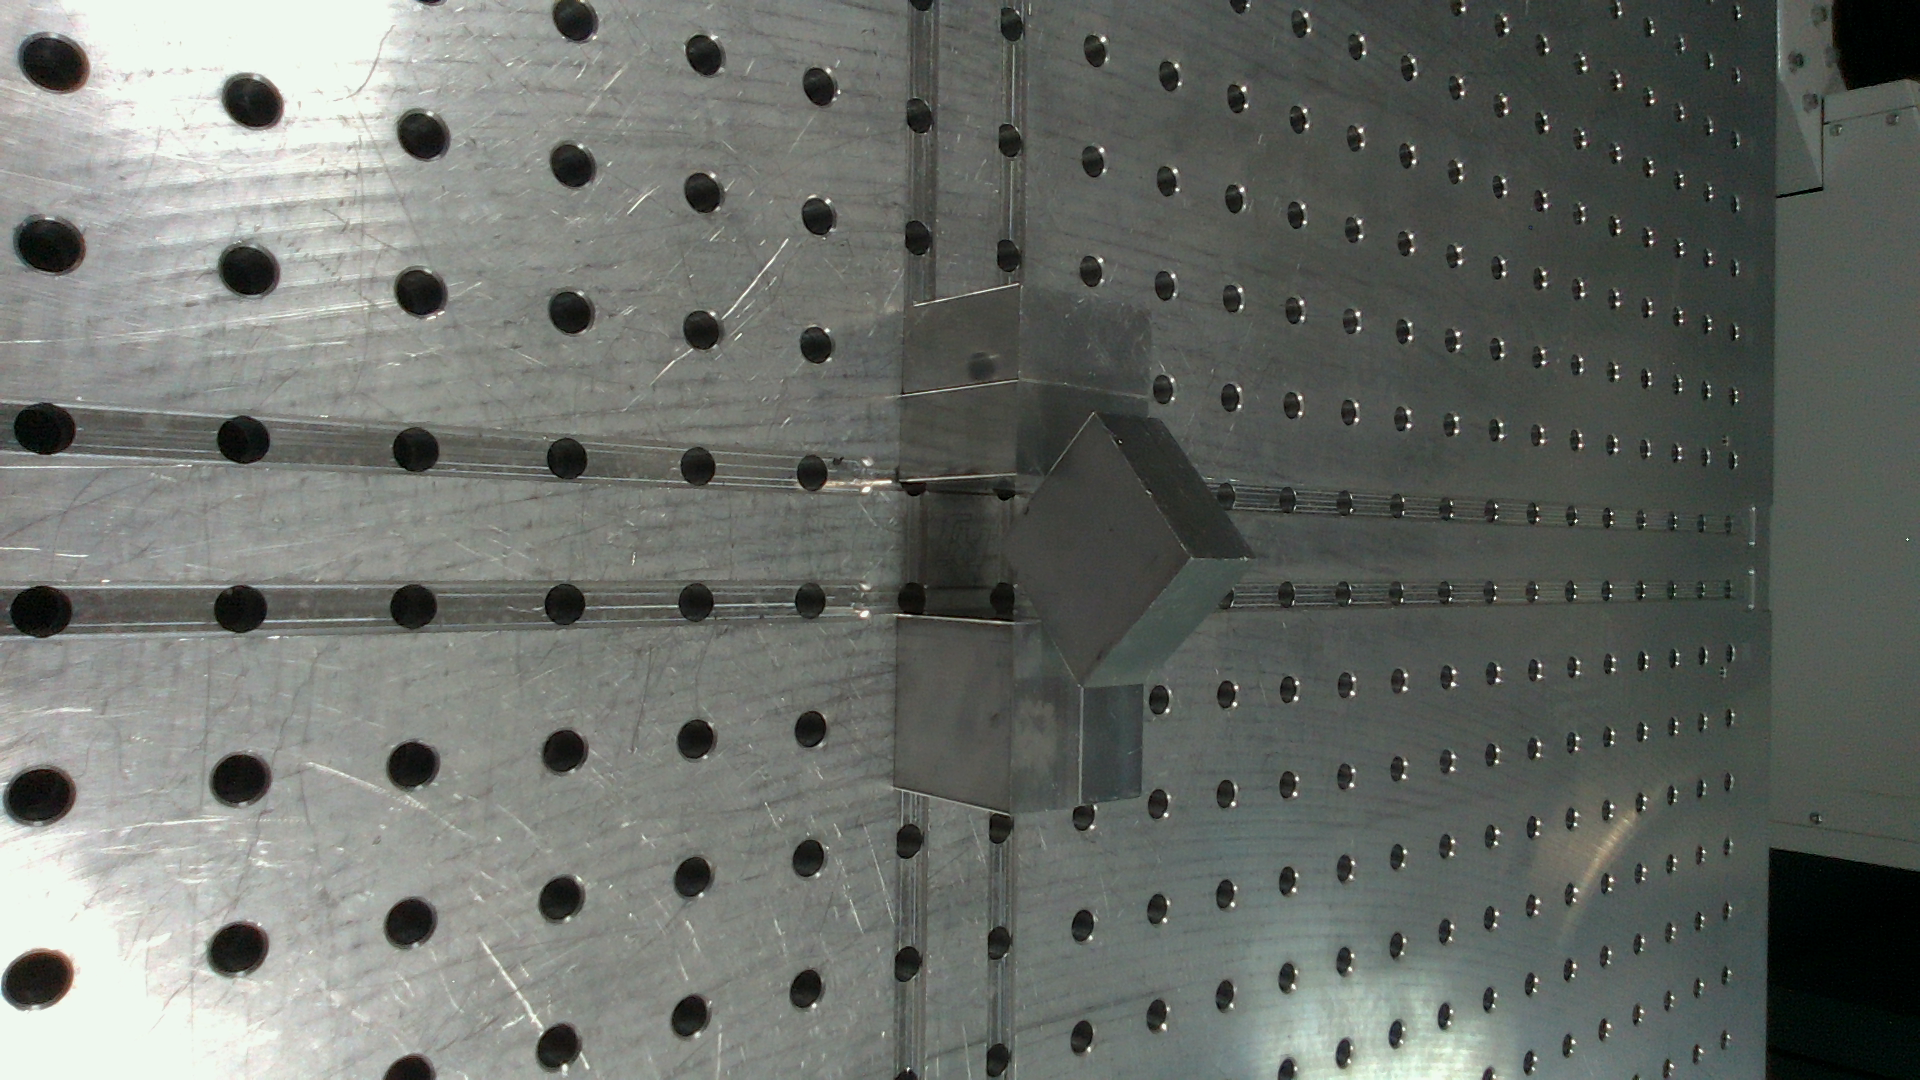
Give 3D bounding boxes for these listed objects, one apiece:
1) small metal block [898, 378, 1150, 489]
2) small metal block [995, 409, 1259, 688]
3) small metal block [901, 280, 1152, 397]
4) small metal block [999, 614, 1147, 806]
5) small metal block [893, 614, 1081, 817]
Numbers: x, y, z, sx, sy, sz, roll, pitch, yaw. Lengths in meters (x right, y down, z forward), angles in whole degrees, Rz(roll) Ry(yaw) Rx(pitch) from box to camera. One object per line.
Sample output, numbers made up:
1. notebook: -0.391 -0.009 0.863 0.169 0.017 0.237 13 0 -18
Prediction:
1. small metal block: 0.018 -0.028 0.390 0.050 0.050 0.025 3 88 -40
2. small metal block: 0.041 0.002 0.357 0.025 0.050 0.050 1 47 -39
3. small metal block: 0.019 -0.054 0.390 0.050 0.050 0.025 3 88 -40
4. small metal block: 0.027 0.047 0.397 0.025 0.050 0.050 2 89 -40
5. small metal block: 0.007 0.046 0.381 0.025 0.050 0.050 2 89 -40
